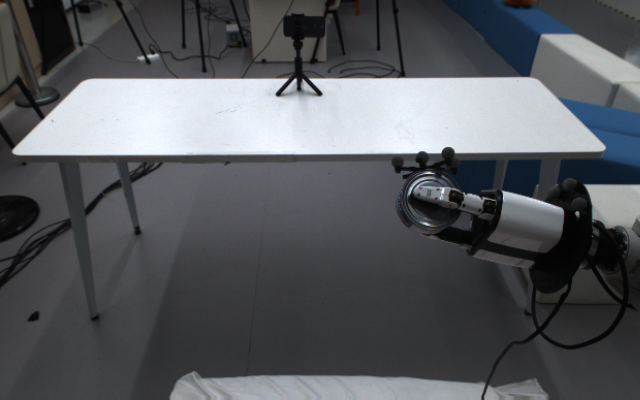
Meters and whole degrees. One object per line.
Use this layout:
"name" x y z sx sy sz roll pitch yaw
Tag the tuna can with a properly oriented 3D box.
"tuna can" 0.150 0.001 0.660 0.085 0.034 0.085 1 71 -3
